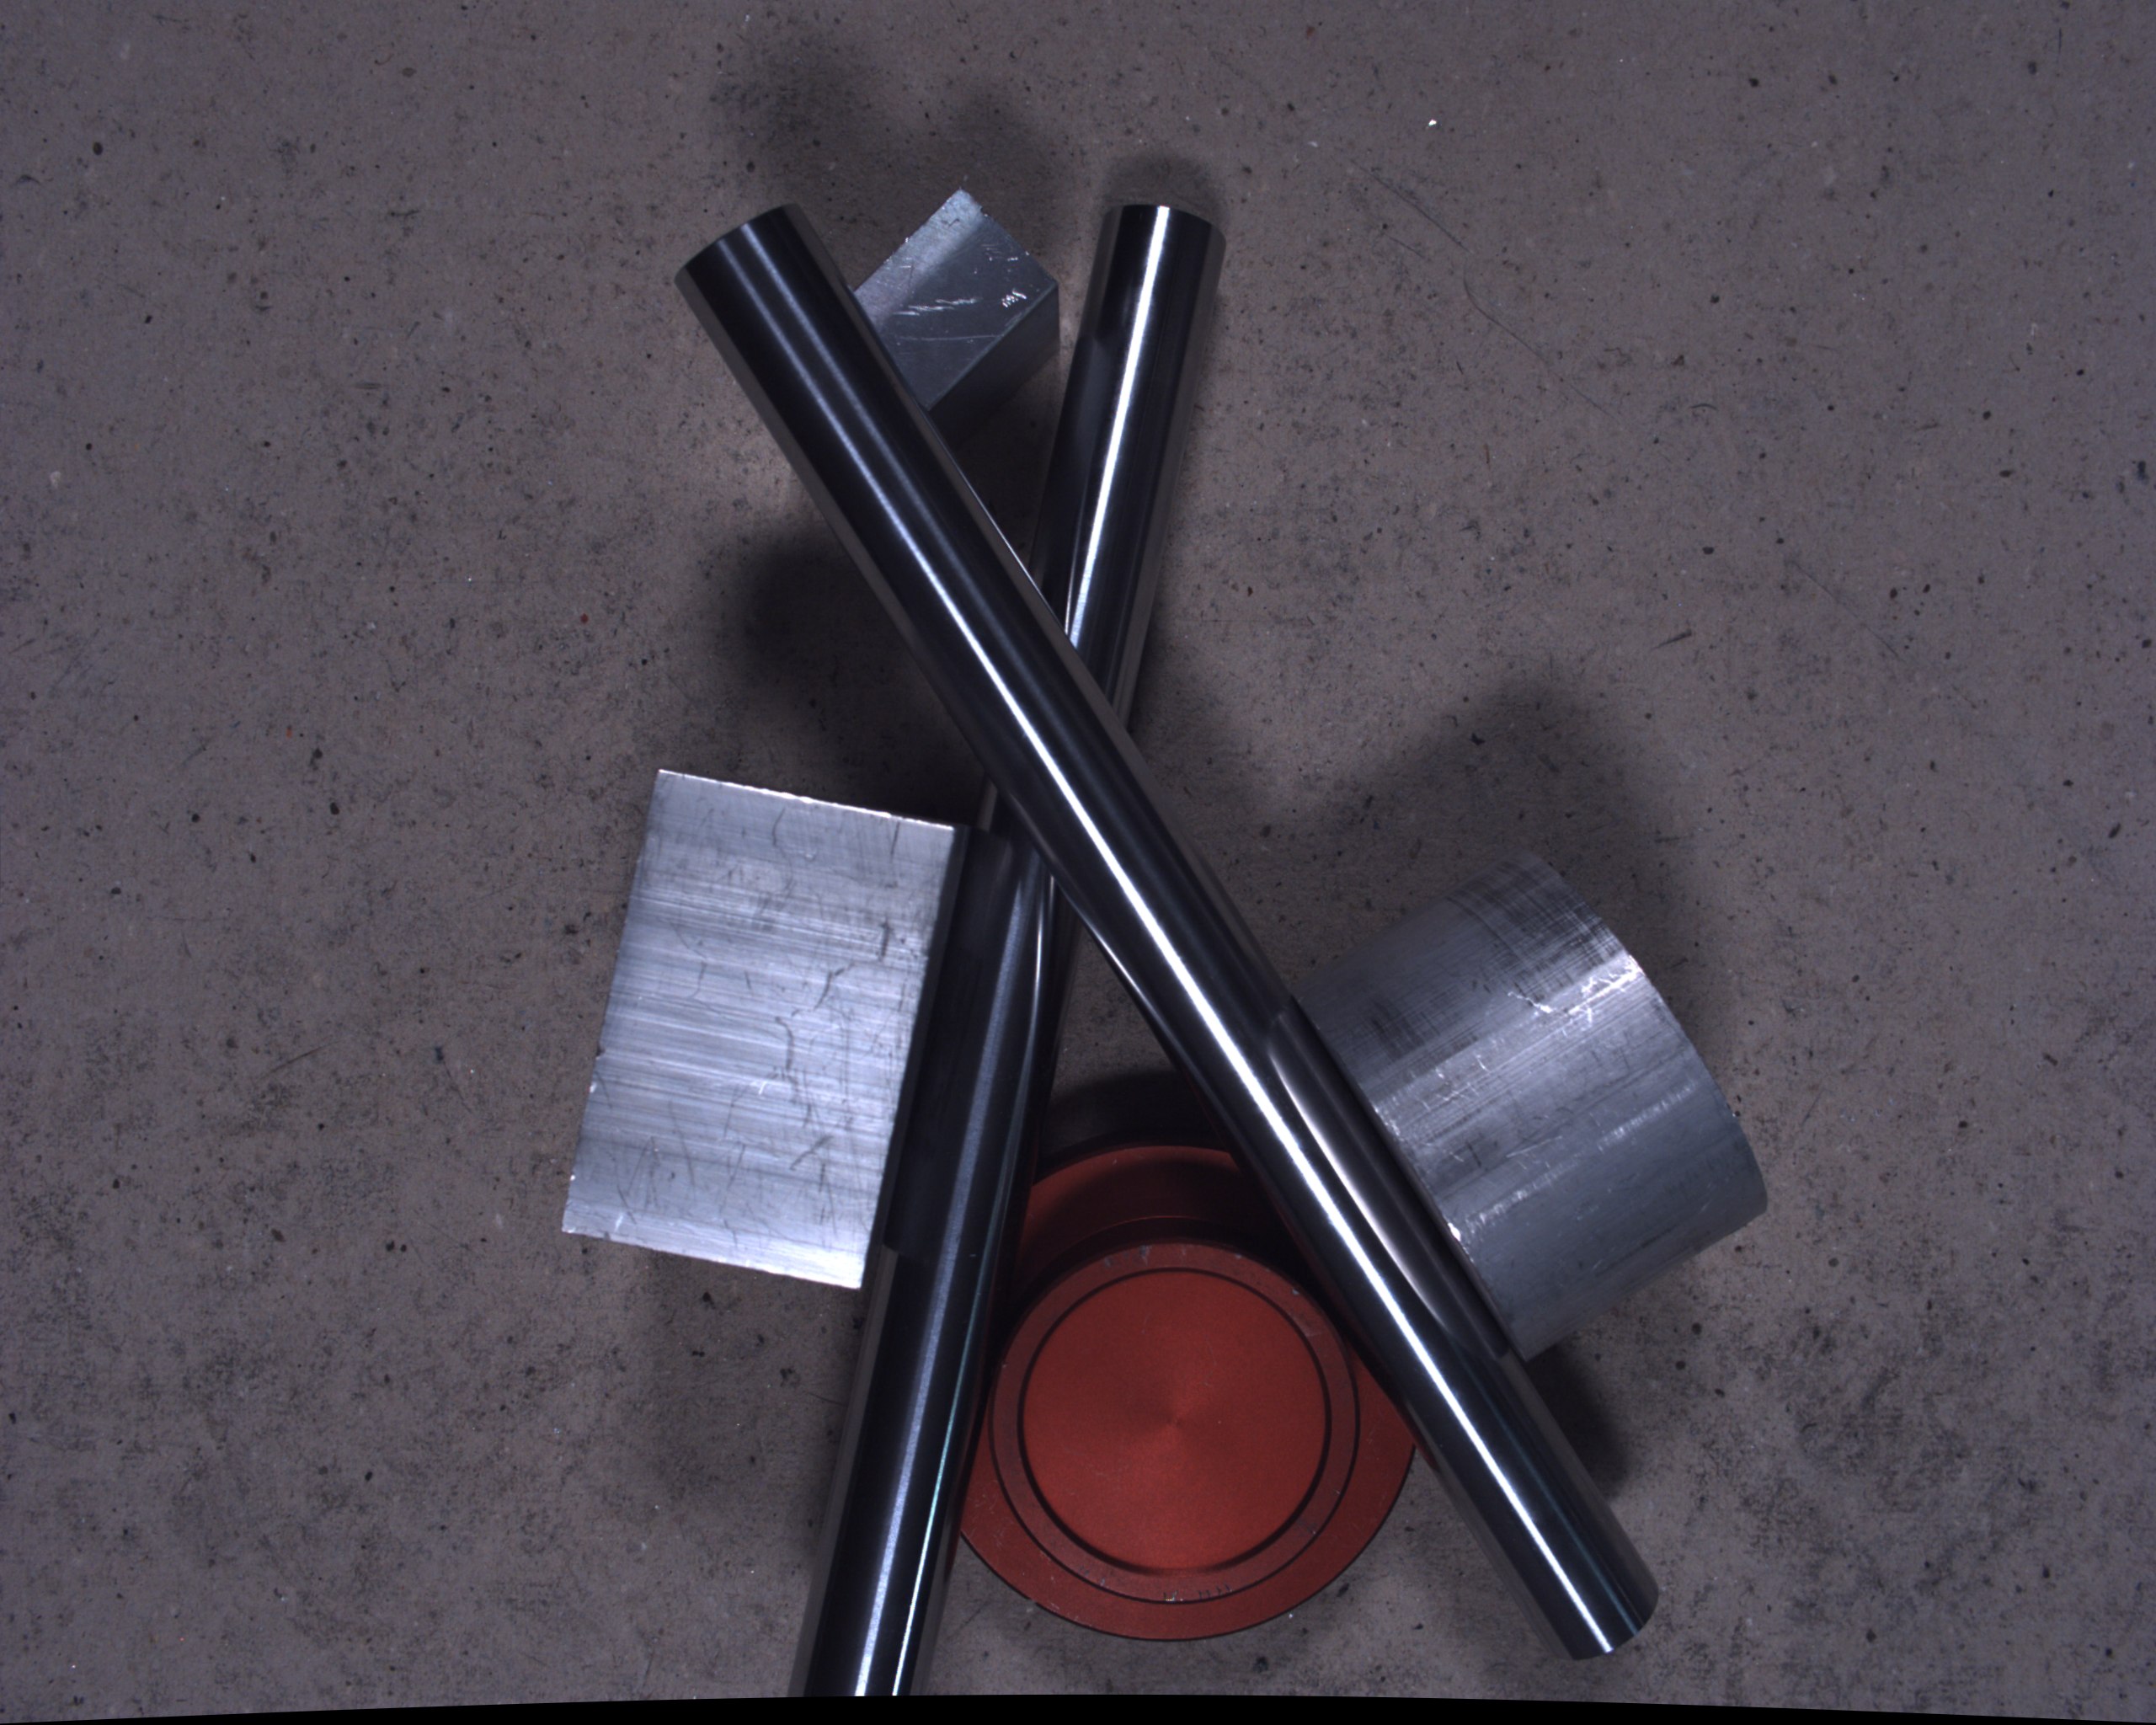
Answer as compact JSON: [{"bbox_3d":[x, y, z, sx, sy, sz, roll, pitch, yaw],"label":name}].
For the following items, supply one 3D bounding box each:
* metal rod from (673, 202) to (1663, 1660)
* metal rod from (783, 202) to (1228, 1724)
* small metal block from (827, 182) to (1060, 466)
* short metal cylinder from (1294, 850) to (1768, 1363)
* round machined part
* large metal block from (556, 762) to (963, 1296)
[{"bbox_3d":[0.022,0.020,0.377,0.025,0.025,0.299,-33,99,0],"label":"metal rod"},{"bbox_3d":[-0.013,0.020,0.396,0.025,0.025,0.298,12,84,-1],"label":"metal rod"},{"bbox_3d":[-0.030,-0.096,0.398,0.050,0.050,0.025,-45,91,0],"label":"small metal block"},{"bbox_3d":[0.081,0.045,0.385,0.050,0.080,0.080,-32,90,0],"label":"short metal cylinder"},{"bbox_3d":[0.018,0.103,0.404,0.099,0.042,0.097,0,90,-1],"label":"round machined part"},{"bbox_3d":[-0.053,0.027,0.383,0.050,0.080,0.080,12,90,0],"label":"large metal block"}]
